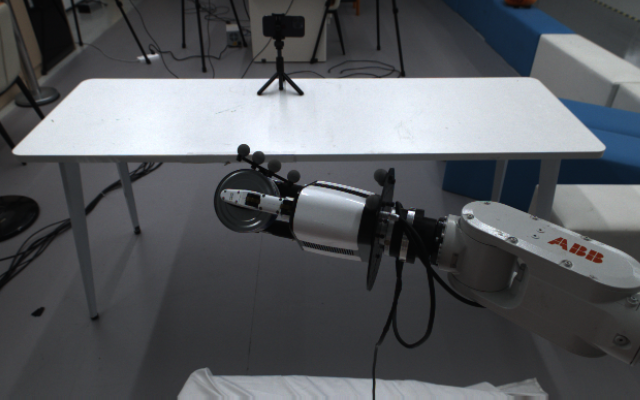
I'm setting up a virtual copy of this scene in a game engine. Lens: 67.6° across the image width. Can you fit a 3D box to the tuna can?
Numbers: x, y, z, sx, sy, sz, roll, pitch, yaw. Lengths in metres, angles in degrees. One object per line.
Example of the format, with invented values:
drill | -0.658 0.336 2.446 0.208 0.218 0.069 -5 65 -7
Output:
tuna can | -0.096 0.003 0.654 0.085 0.085 0.034 10 -4 11
